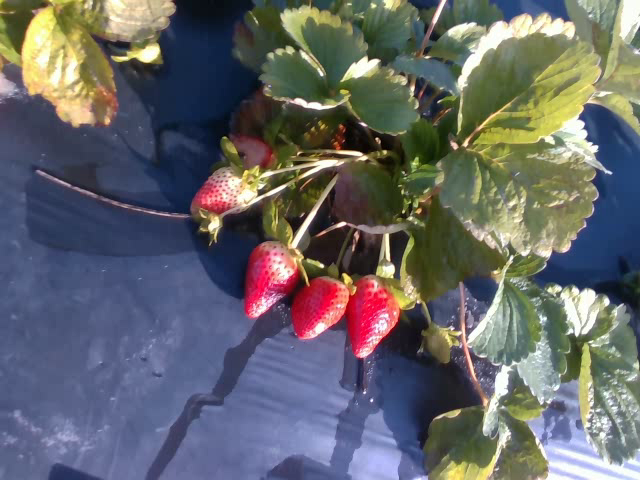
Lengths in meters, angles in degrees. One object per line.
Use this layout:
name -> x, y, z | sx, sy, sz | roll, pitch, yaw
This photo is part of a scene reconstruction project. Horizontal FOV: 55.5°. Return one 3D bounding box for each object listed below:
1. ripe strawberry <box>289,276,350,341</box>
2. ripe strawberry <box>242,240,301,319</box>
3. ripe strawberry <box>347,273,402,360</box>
ripe strawberry -> -0.001, 0.036, 0.307 | 0.031, 0.039, 0.037 | 36, -50, -11
ripe strawberry -> -0.028, 0.022, 0.309 | 0.032, 0.045, 0.023 | 26, 2, -9
ripe strawberry -> 0.024, 0.047, 0.315 | 0.035, 0.041, 0.033 | 22, -34, -8
